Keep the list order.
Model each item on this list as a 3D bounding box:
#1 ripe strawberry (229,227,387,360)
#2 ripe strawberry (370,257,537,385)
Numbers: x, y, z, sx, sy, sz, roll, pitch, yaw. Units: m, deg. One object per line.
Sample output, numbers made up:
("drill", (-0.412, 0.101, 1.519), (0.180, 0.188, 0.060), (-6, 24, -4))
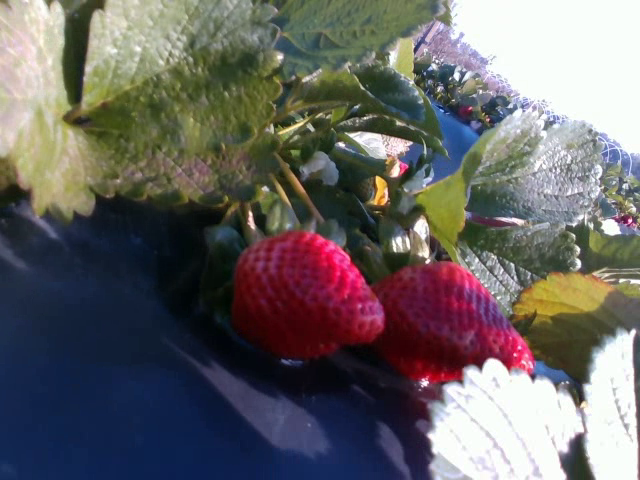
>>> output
("ripe strawberry", (-0.001, 0.016, 0.161), (0.043, 0.037, 0.051), (-26, 37, -34))
("ripe strawberry", (0.043, 0.030, 0.192), (0.052, 0.046, 0.057), (-16, 28, -33))
